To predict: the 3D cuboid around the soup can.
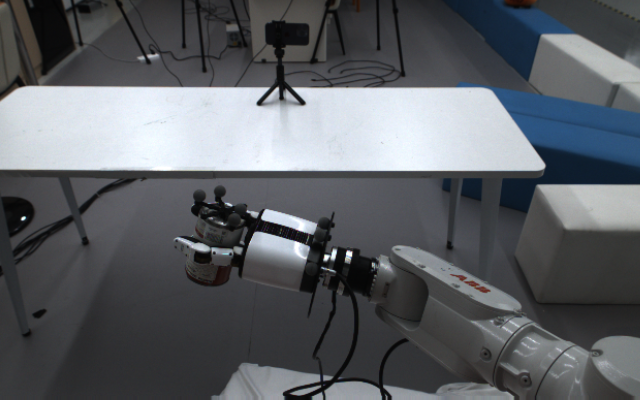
[{"bbox_3d":[-0.151,0.066,0.698,0.067,0.101,0.067,17,22,-7],"label":"soup can"}]
